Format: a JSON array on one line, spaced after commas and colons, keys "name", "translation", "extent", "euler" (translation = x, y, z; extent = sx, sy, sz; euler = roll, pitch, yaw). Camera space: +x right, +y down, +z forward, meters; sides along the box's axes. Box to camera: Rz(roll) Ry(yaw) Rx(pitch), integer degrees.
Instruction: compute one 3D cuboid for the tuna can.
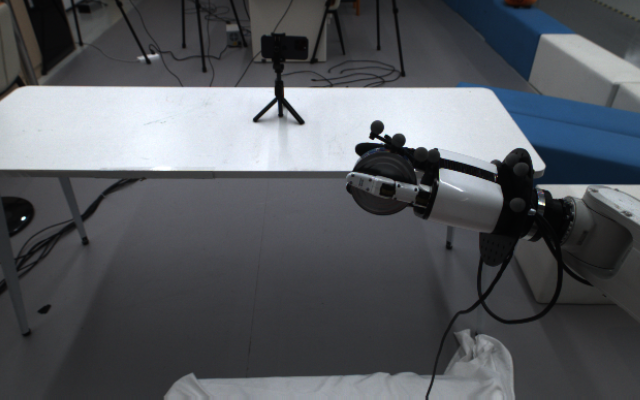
[{"name": "tuna can", "translation": [0.084, -0.028, 0.634], "extent": [0.085, 0.085, 0.034], "euler": [7, 17, 7]}]
